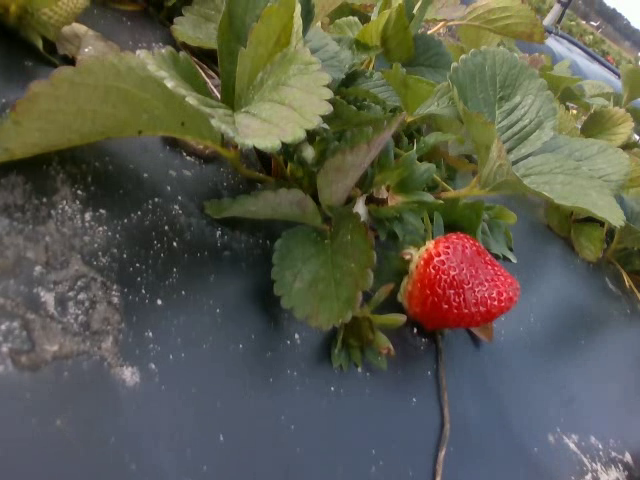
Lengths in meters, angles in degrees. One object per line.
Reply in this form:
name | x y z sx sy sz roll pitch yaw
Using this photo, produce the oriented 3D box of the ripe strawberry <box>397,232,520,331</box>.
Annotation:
ripe strawberry | 0.065 0.021 0.268 0.050 0.049 0.053 9 10 -39
